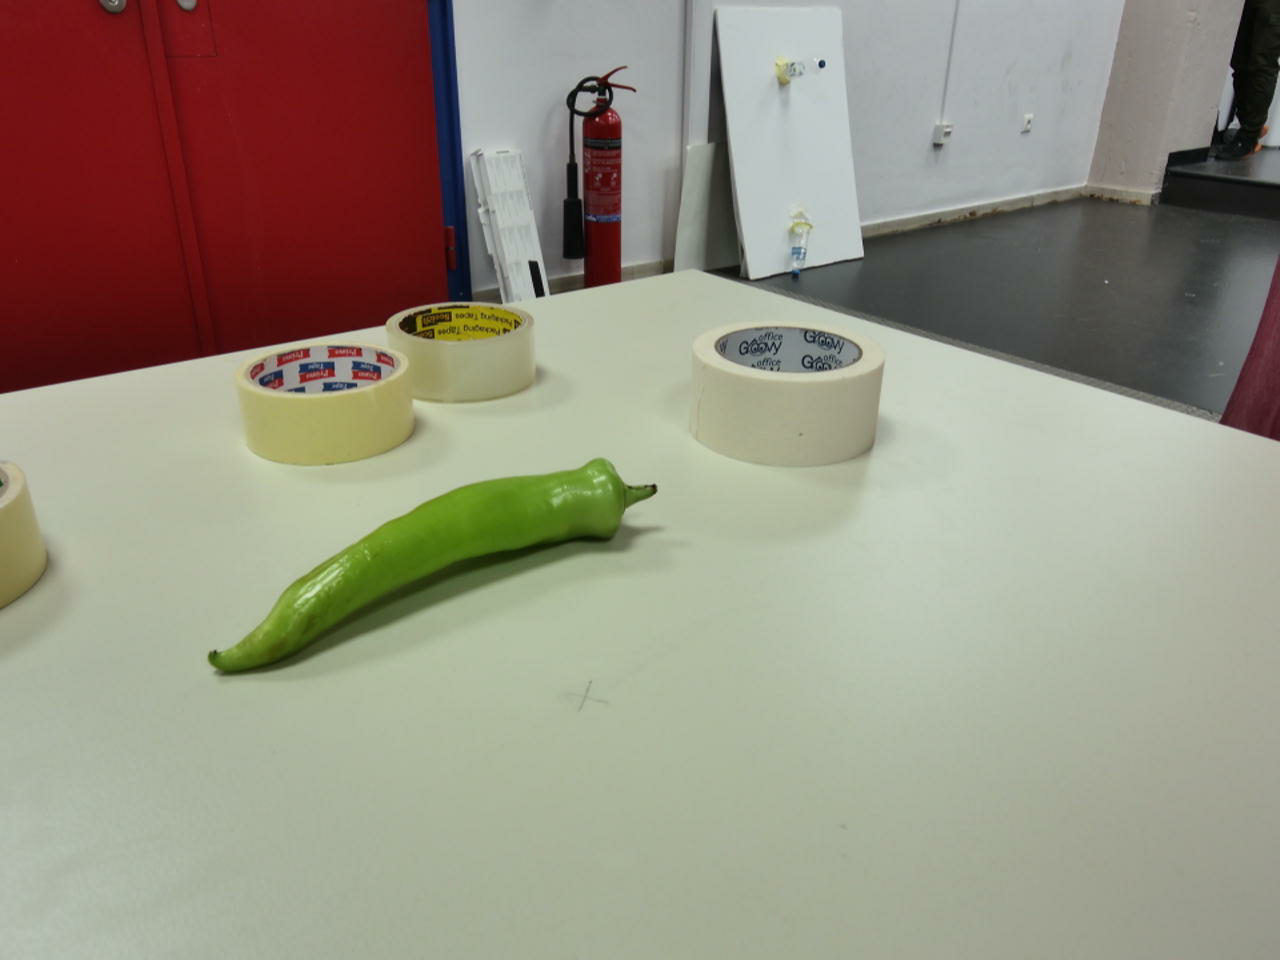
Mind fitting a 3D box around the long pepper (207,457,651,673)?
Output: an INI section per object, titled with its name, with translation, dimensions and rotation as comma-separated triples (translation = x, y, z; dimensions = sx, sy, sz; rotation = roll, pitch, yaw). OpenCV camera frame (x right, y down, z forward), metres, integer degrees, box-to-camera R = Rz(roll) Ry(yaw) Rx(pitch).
[long pepper]
translation = -0.080, 0.025, 0.409
dimensions = 0.197, 0.038, 0.047
rotation = -16, 29, -34
